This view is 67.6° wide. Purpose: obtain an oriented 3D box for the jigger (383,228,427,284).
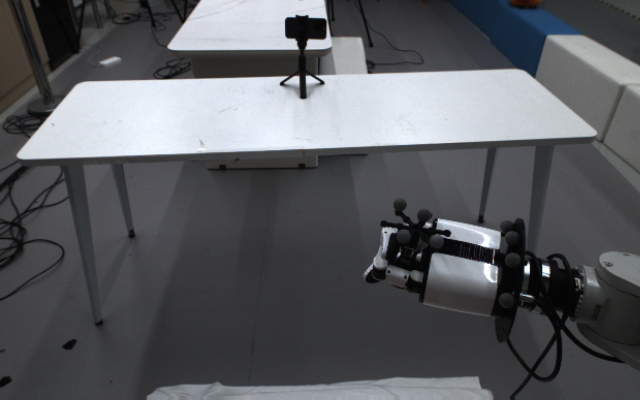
[{"bbox_3d":[0.116,0.078,0.642,0.043,0.071,0.043,7,32,-4],"label":"jigger"}]
